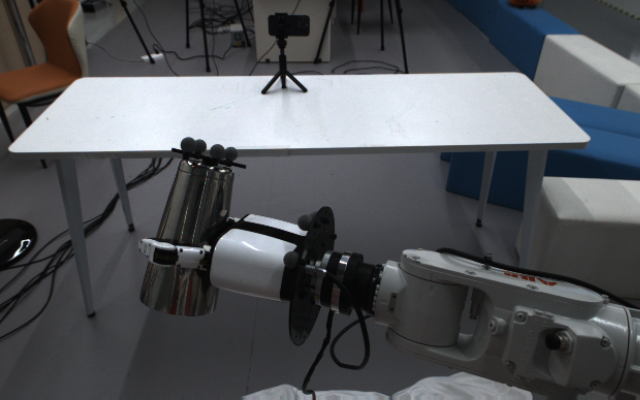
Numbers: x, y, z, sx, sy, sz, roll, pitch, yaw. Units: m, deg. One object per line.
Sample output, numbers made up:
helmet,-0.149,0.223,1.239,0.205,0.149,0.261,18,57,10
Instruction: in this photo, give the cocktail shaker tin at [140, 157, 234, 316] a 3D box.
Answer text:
cocktail shaker tin,-0.151,0.042,0.581,0.093,0.170,0.093,13,5,-1
